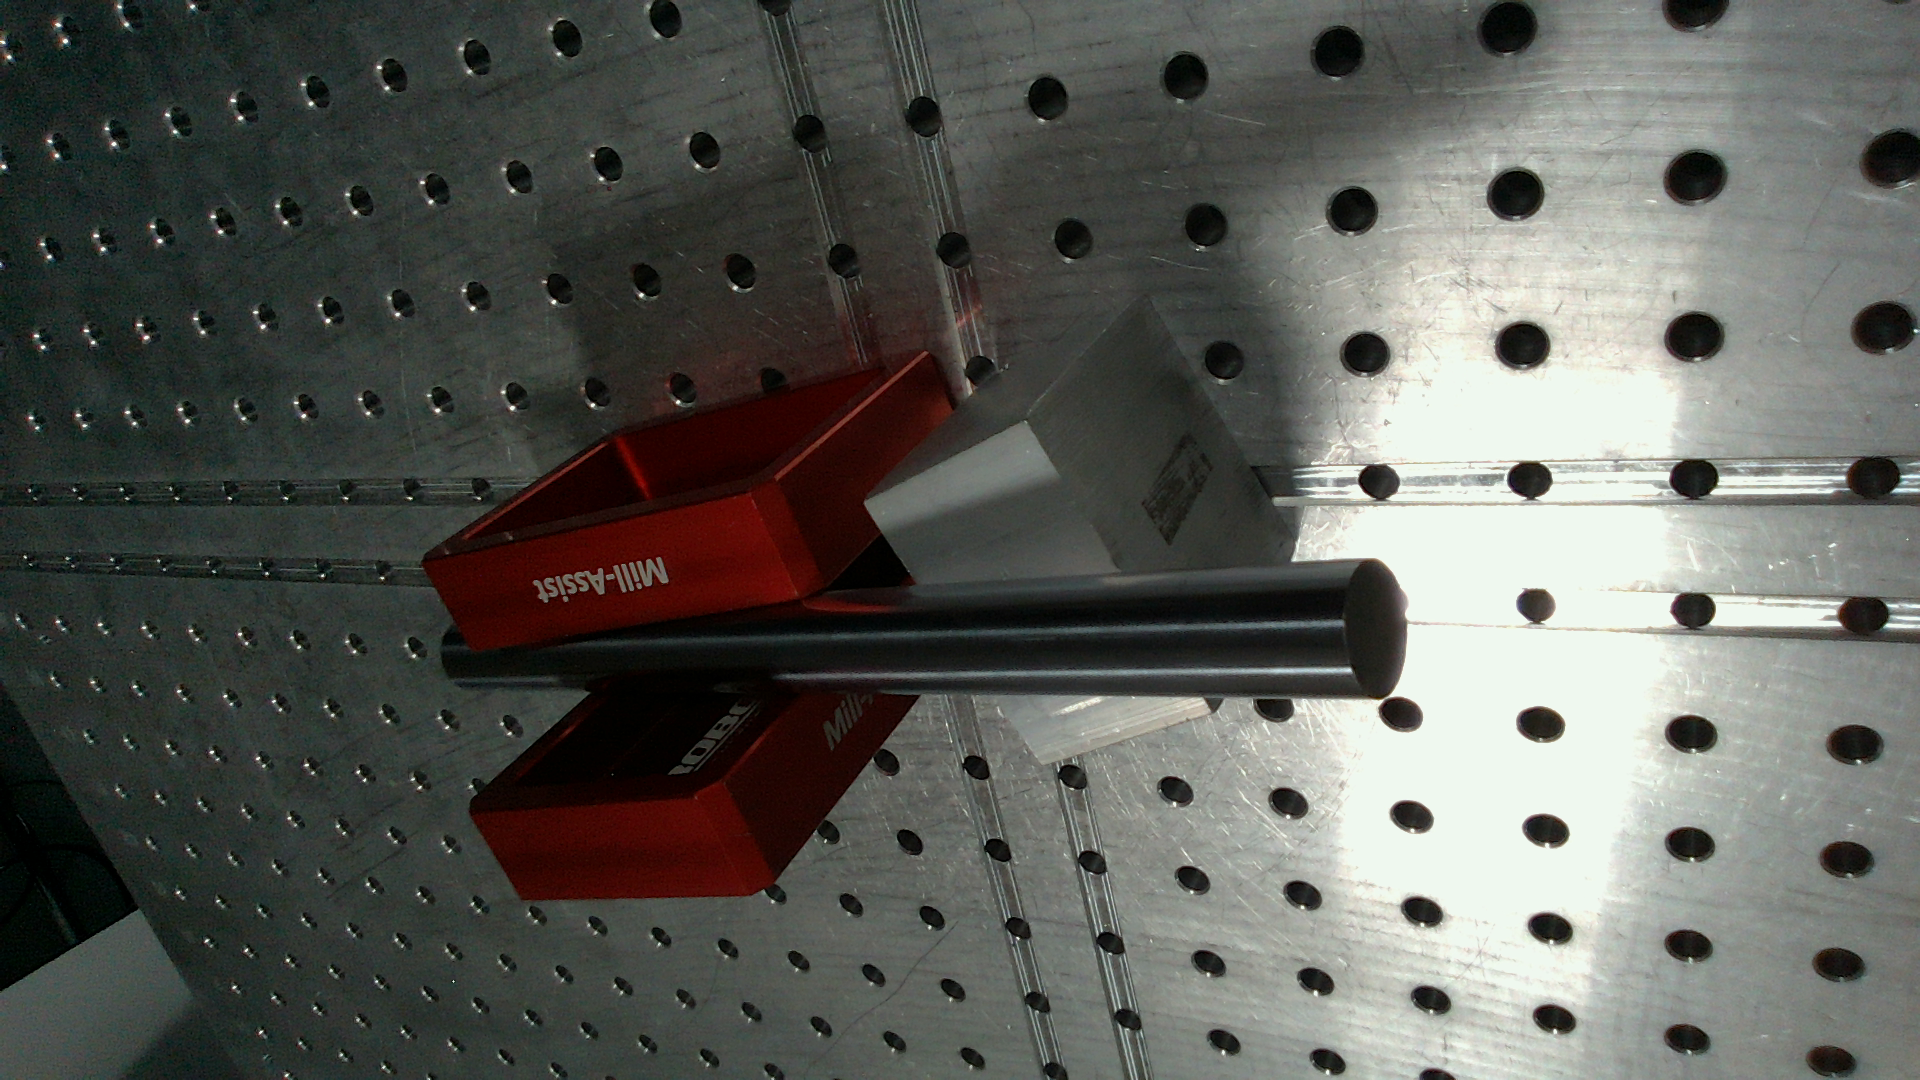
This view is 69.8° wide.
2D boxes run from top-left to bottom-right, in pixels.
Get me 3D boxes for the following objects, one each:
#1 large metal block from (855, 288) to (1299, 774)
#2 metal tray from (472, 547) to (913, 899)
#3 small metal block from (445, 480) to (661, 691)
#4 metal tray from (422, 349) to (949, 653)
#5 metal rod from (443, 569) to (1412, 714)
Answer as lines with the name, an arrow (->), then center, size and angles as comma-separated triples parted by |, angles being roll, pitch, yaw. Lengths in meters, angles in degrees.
large metal block -> 0.033, -0.004, 0.339 | 0.050, 0.080, 0.080 | -25, 105, 37
metal tray -> -0.061, 0.046, 0.389 | 0.090, 0.130, 0.030 | -10, 114, 32
small metal block -> -0.135, 0.015, 0.461 | 0.025, 0.050, 0.050 | -9, 114, 32
metal tray -> -0.074, -0.011, 0.386 | 0.129, 0.090, 0.030 | -9, 115, 32
metal rod -> -0.039, 0.027, 0.336 | 0.299, 0.025, 0.025 | -5, 117, 41
